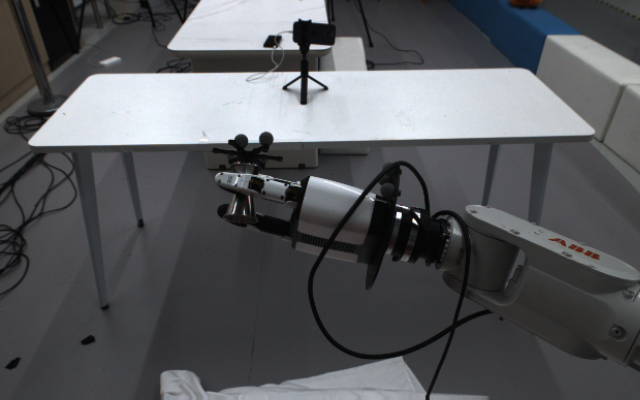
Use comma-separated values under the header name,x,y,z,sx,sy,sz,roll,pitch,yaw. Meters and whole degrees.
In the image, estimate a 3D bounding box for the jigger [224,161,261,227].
name,x,y,z,sx,sy,sz,roll,pitch,yaw
jigger,-0.096,-0.009,0.605,0.043,0.043,0.071,3,75,2
